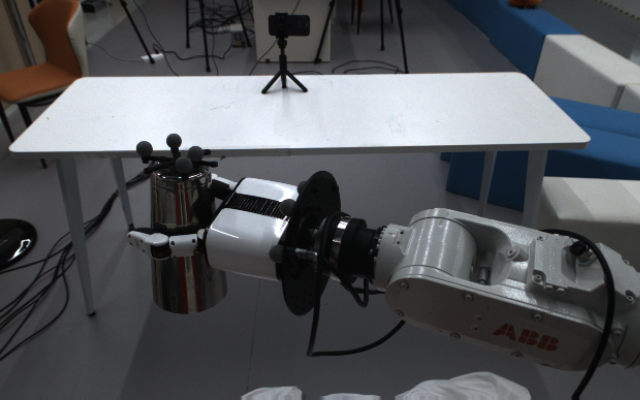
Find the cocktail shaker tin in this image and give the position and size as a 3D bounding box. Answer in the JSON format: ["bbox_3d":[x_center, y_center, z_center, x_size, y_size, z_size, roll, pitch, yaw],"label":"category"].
[{"bbox_3d":[-0.160,0.041,0.581,0.093,0.170,0.093,2,25,-1],"label":"cocktail shaker tin"}]
